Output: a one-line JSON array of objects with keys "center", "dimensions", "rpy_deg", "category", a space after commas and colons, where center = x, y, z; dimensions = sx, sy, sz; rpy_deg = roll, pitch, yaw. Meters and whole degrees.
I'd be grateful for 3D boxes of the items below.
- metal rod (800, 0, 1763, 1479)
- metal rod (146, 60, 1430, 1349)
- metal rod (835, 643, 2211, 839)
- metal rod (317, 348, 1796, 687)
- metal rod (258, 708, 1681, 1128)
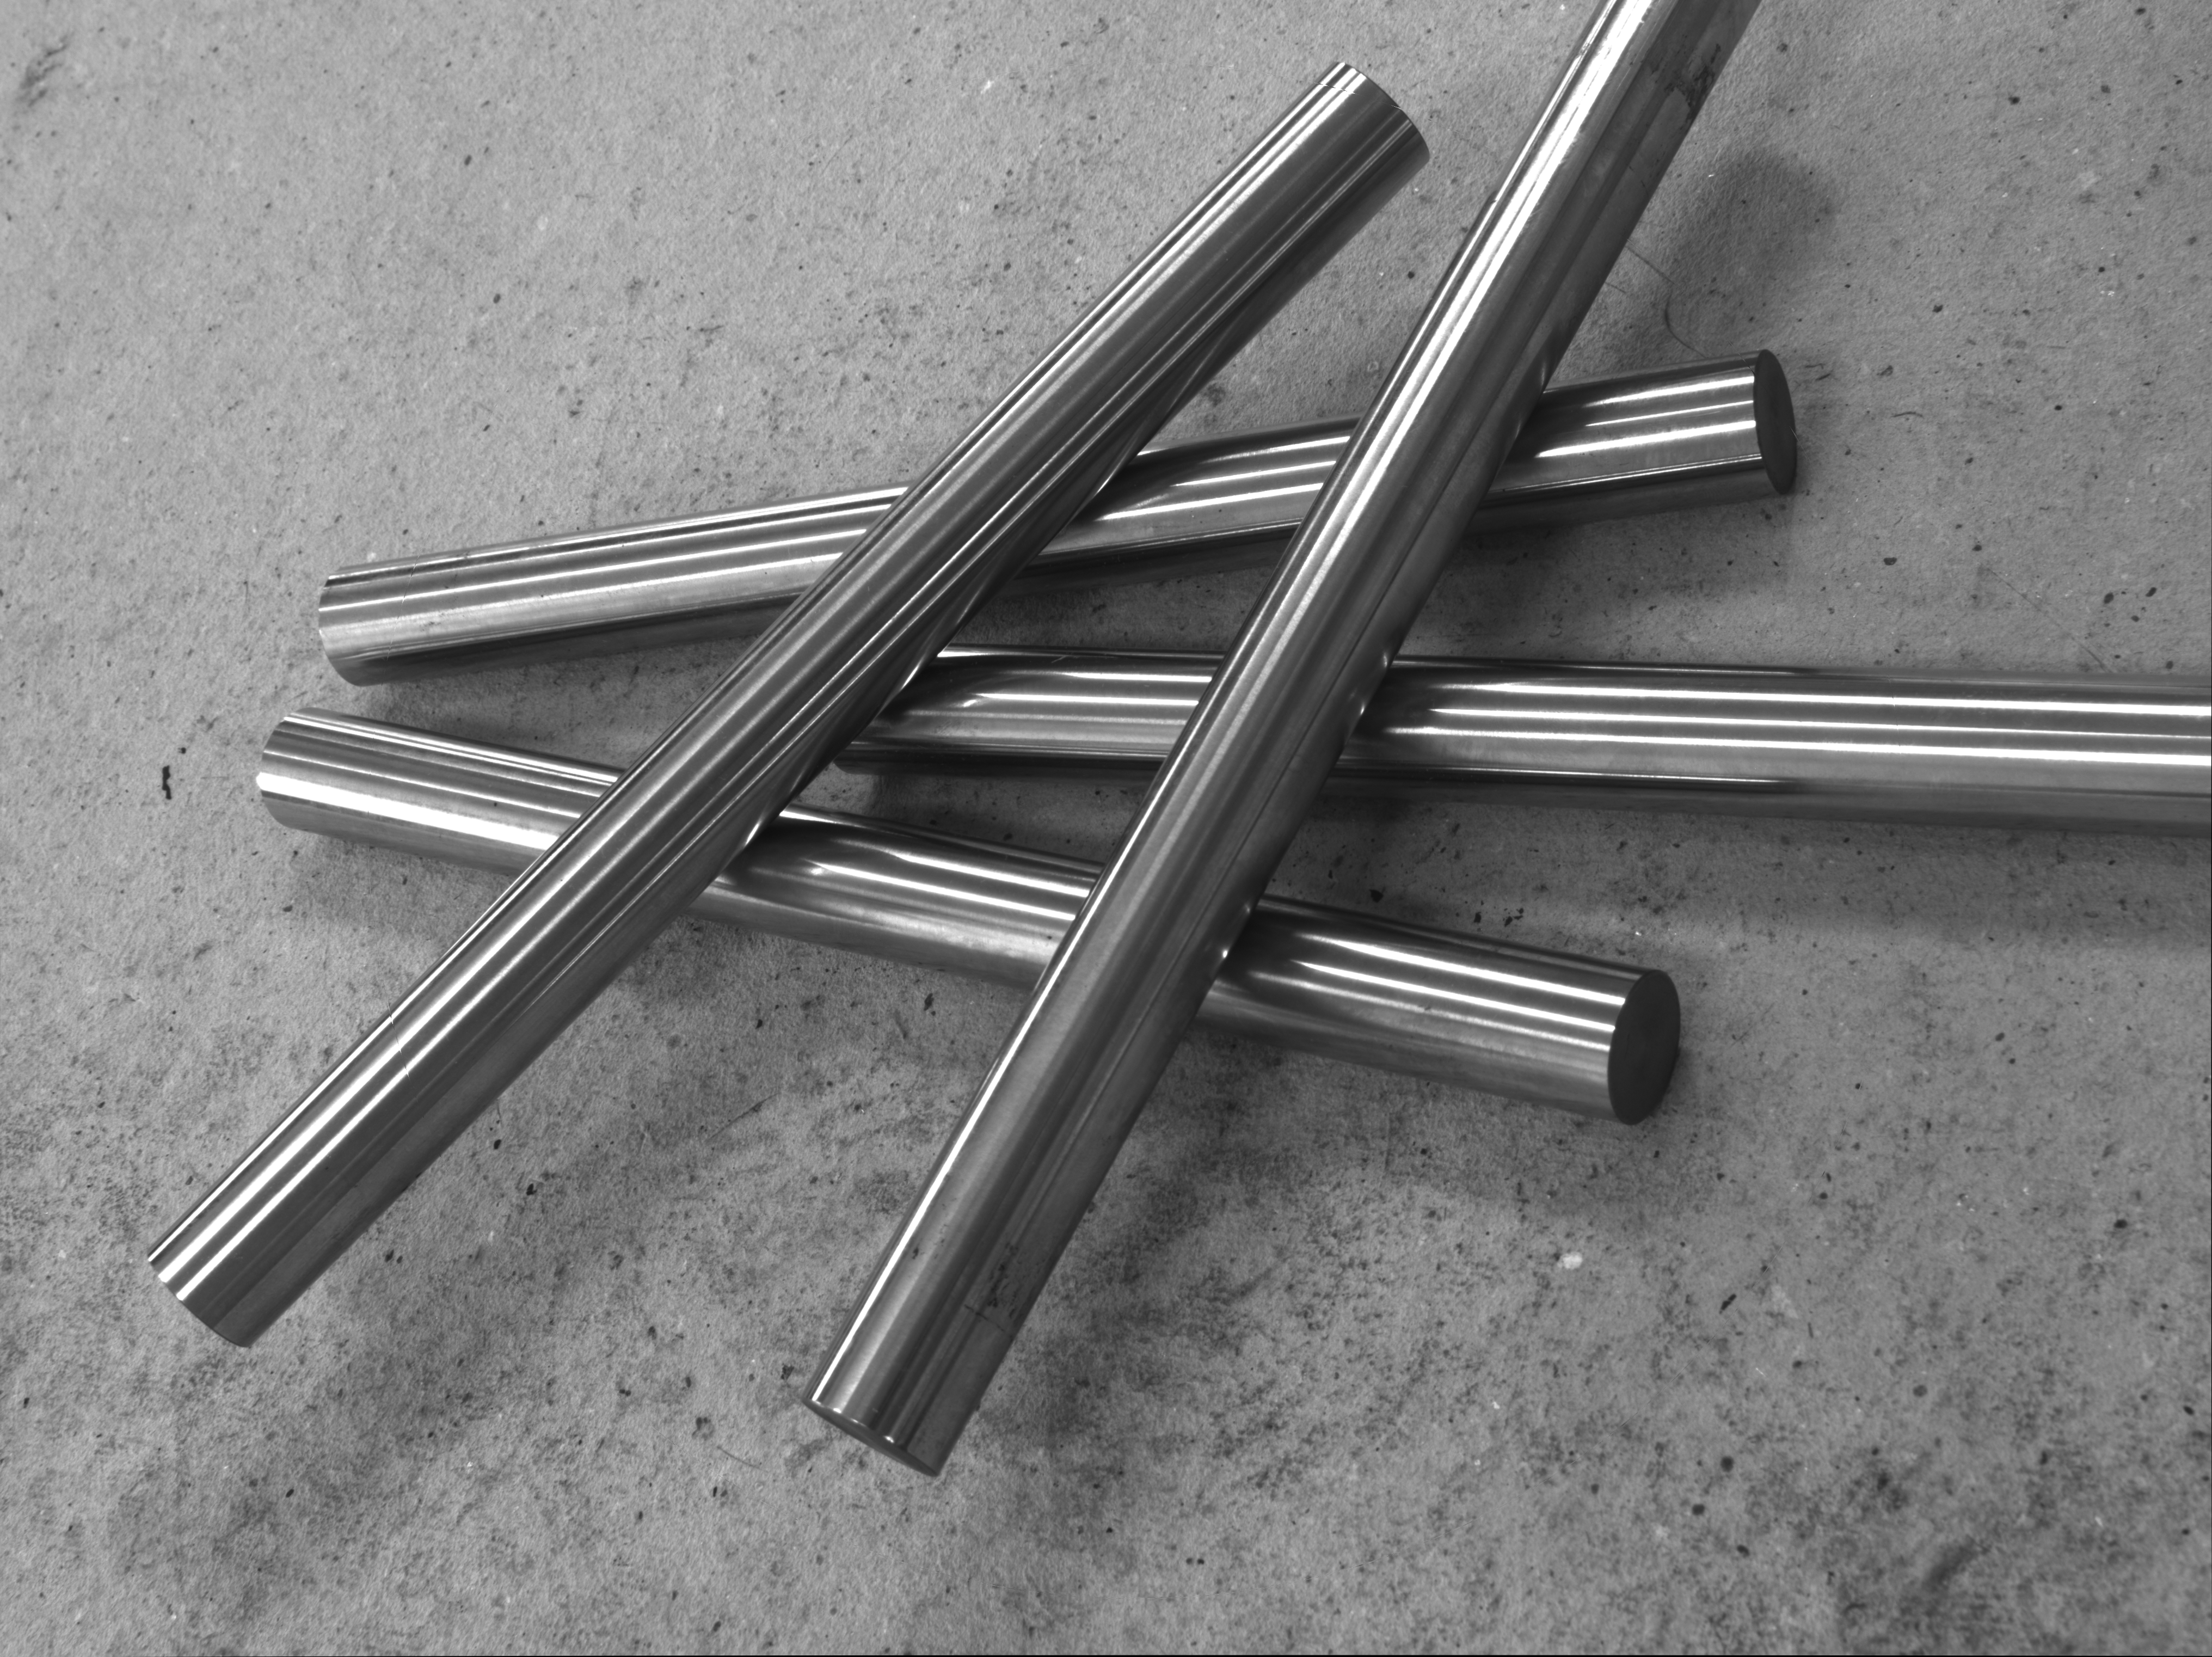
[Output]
[{"center": [0.035, -0.030, 0.612], "dimensions": [0.025, 0.025, 0.300], "rpy_deg": [19, 71, 36], "category": "metal rod"}, {"center": [-0.055, -0.024, 0.657], "dimensions": [0.300, 0.025, 0.025], "rpy_deg": [-45, 51, -4], "category": "metal rod"}, {"center": [0.083, -0.016, 0.610], "dimensions": [0.299, 0.025, 0.025], "rpy_deg": [3, 63, 30], "category": "metal rod"}, {"center": [-0.020, -0.056, 0.690], "dimensions": [0.299, 0.025, 0.025], "rpy_deg": [-6, 59, 25], "category": "metal rod"}, {"center": [-0.038, 0.011, 0.659], "dimensions": [0.299, 0.025, 0.025], "rpy_deg": [11, 67, 33], "category": "metal rod"}]
